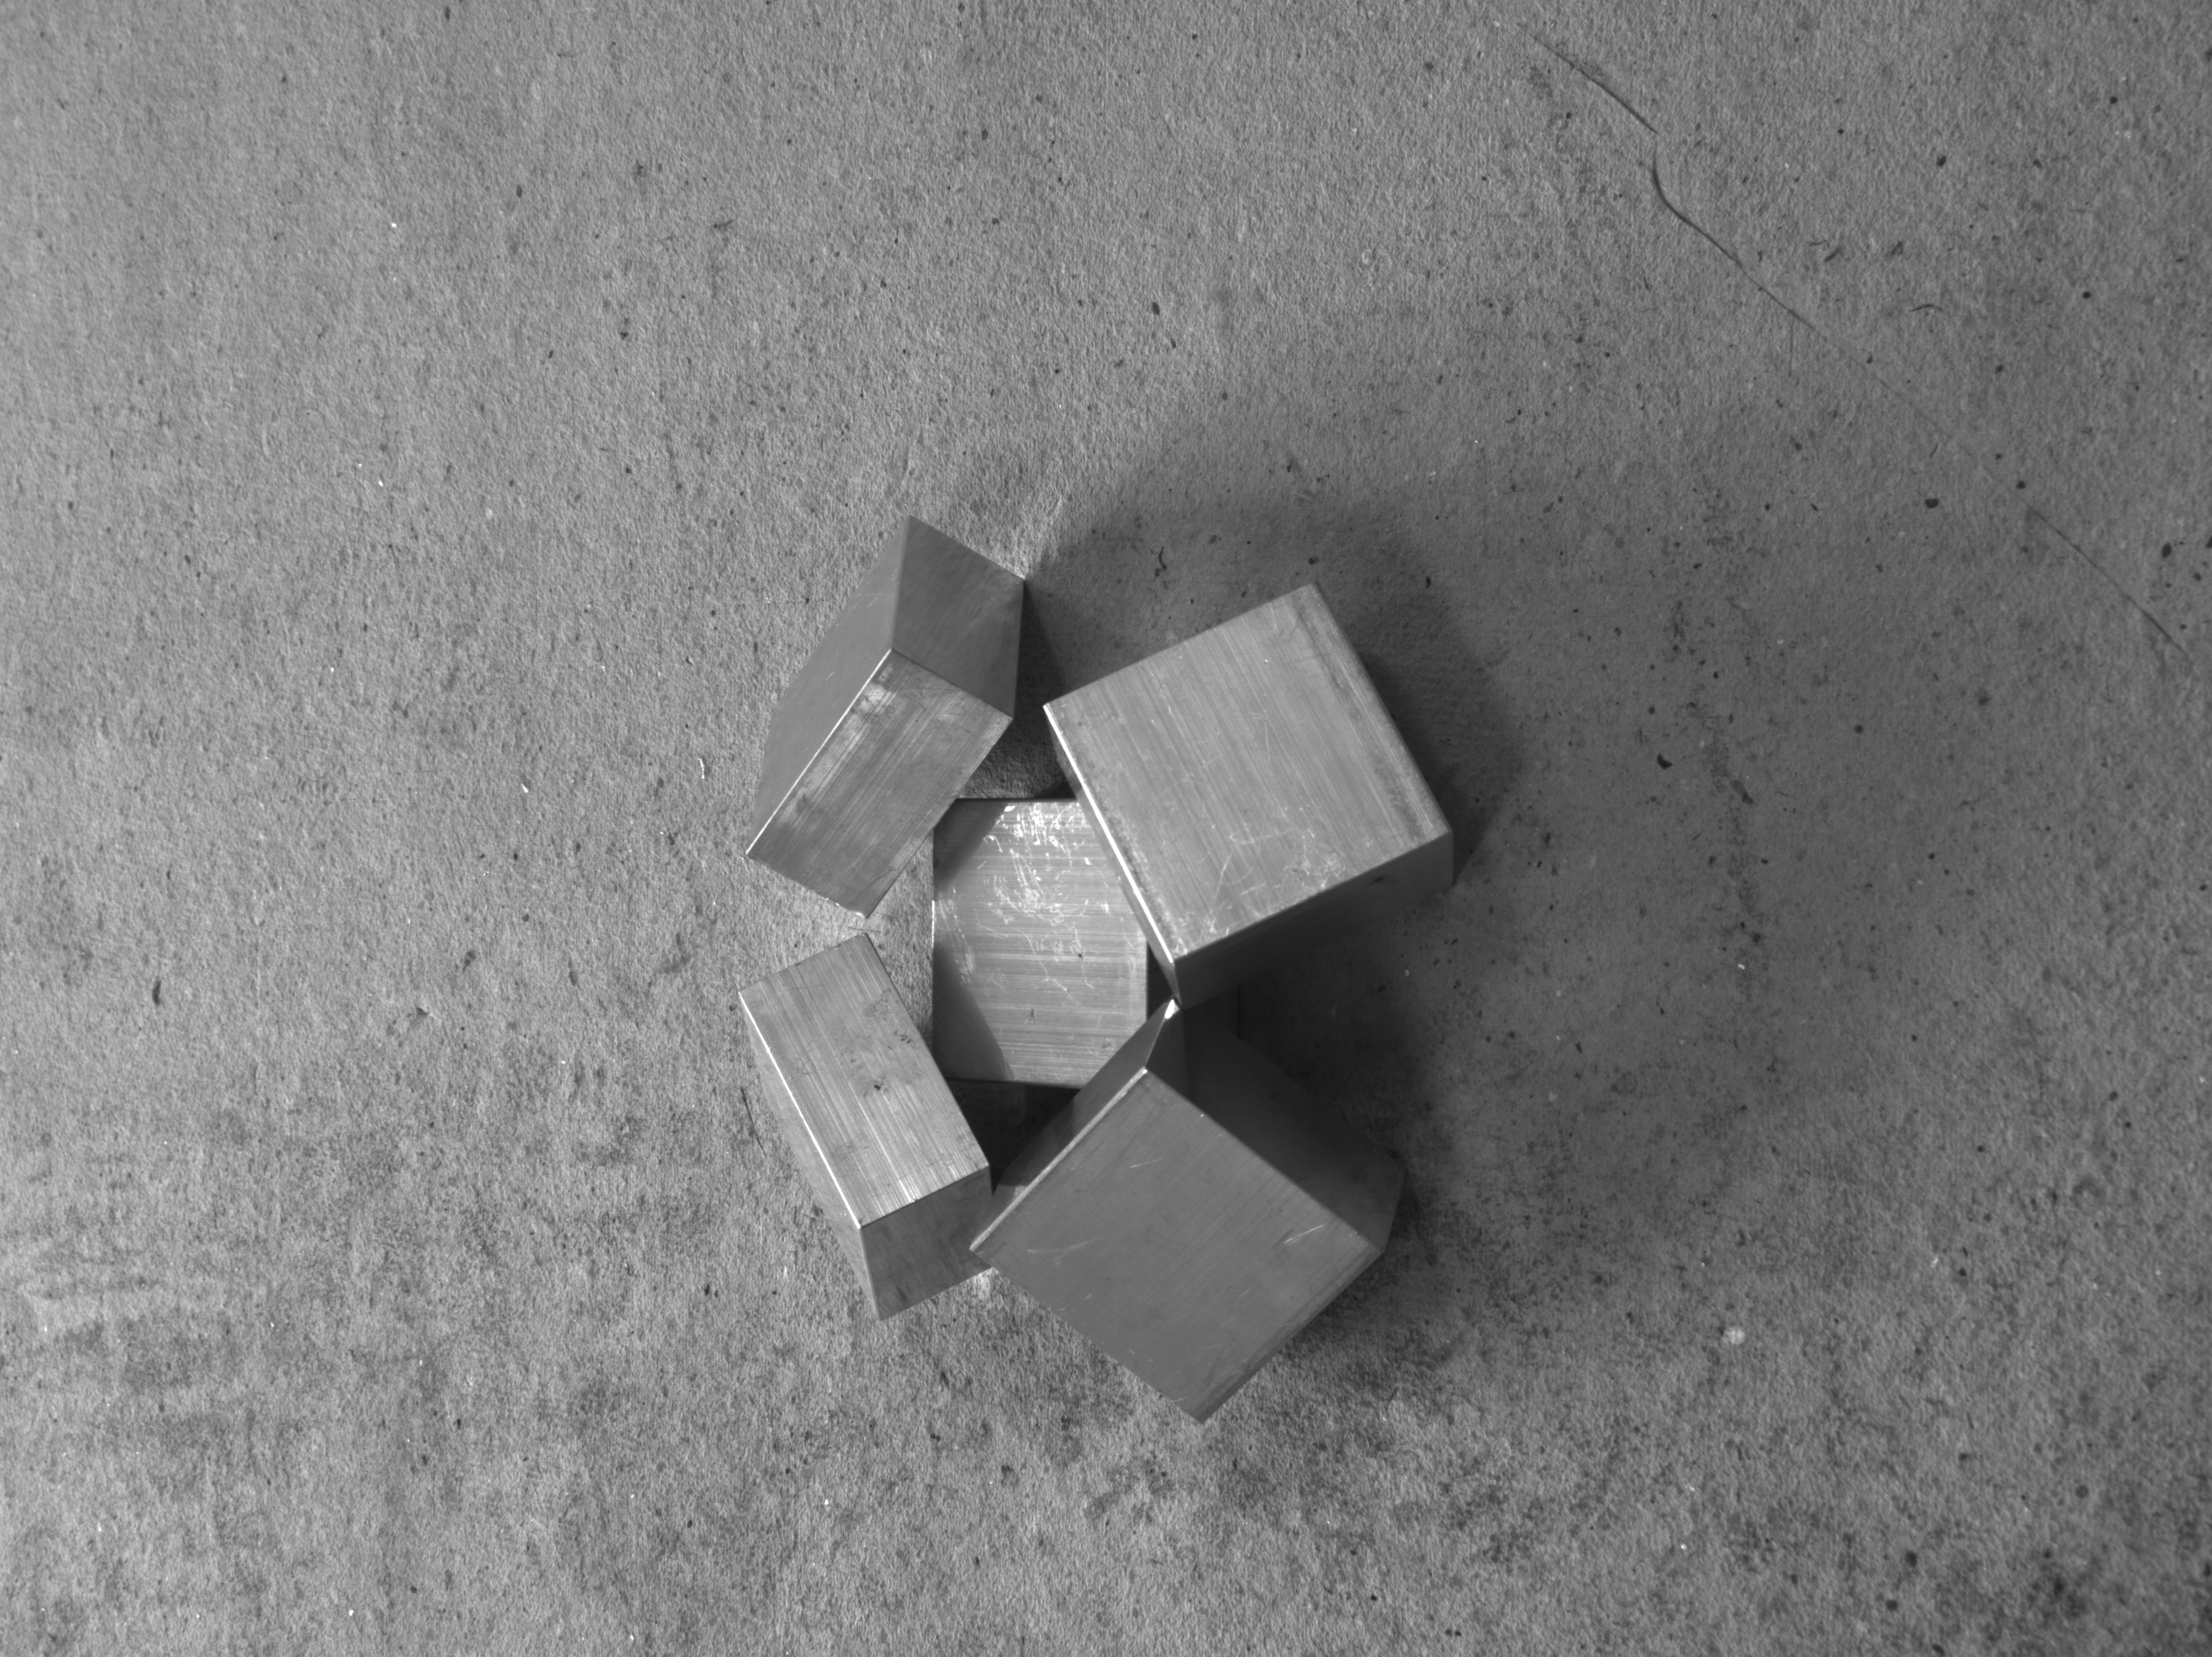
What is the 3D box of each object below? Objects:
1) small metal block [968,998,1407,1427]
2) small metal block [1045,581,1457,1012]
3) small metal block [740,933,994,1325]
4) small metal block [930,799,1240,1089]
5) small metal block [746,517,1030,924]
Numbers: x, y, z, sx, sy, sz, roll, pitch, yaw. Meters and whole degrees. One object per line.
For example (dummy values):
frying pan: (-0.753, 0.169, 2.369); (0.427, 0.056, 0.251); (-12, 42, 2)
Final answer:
small metal block: (0.014, 0.064, 0.617); (0.050, 0.025, 0.050); (38, 120, -8)
small metal block: (0.024, -0.005, 0.609); (0.050, 0.025, 0.050); (-25, 70, -5)
small metal block: (-0.042, 0.055, 0.663); (0.050, 0.025, 0.050); (60, 168, 23)
small metal block: (-0.004, 0.020, 0.649); (0.050, 0.025, 0.050); (-1, 90, 39)
small metal block: (-0.039, -0.020, 0.661); (0.050, 0.025, 0.050); (-52, 18, 27)
